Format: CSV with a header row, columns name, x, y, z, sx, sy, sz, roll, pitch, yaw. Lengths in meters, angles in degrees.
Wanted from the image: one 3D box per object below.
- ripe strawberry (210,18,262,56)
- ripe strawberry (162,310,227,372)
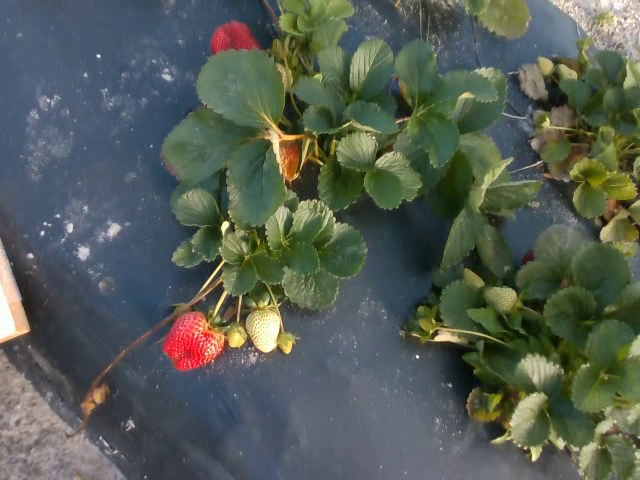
name,x,y,z,sx,sy,sz,roll,pitch,yaw
ripe strawberry,-0.086,-0.190,0.636,0.058,0.071,0.057,-11,22,5
ripe strawberry,-0.111,0.089,0.531,0.050,0.048,0.035,-42,-5,-3
